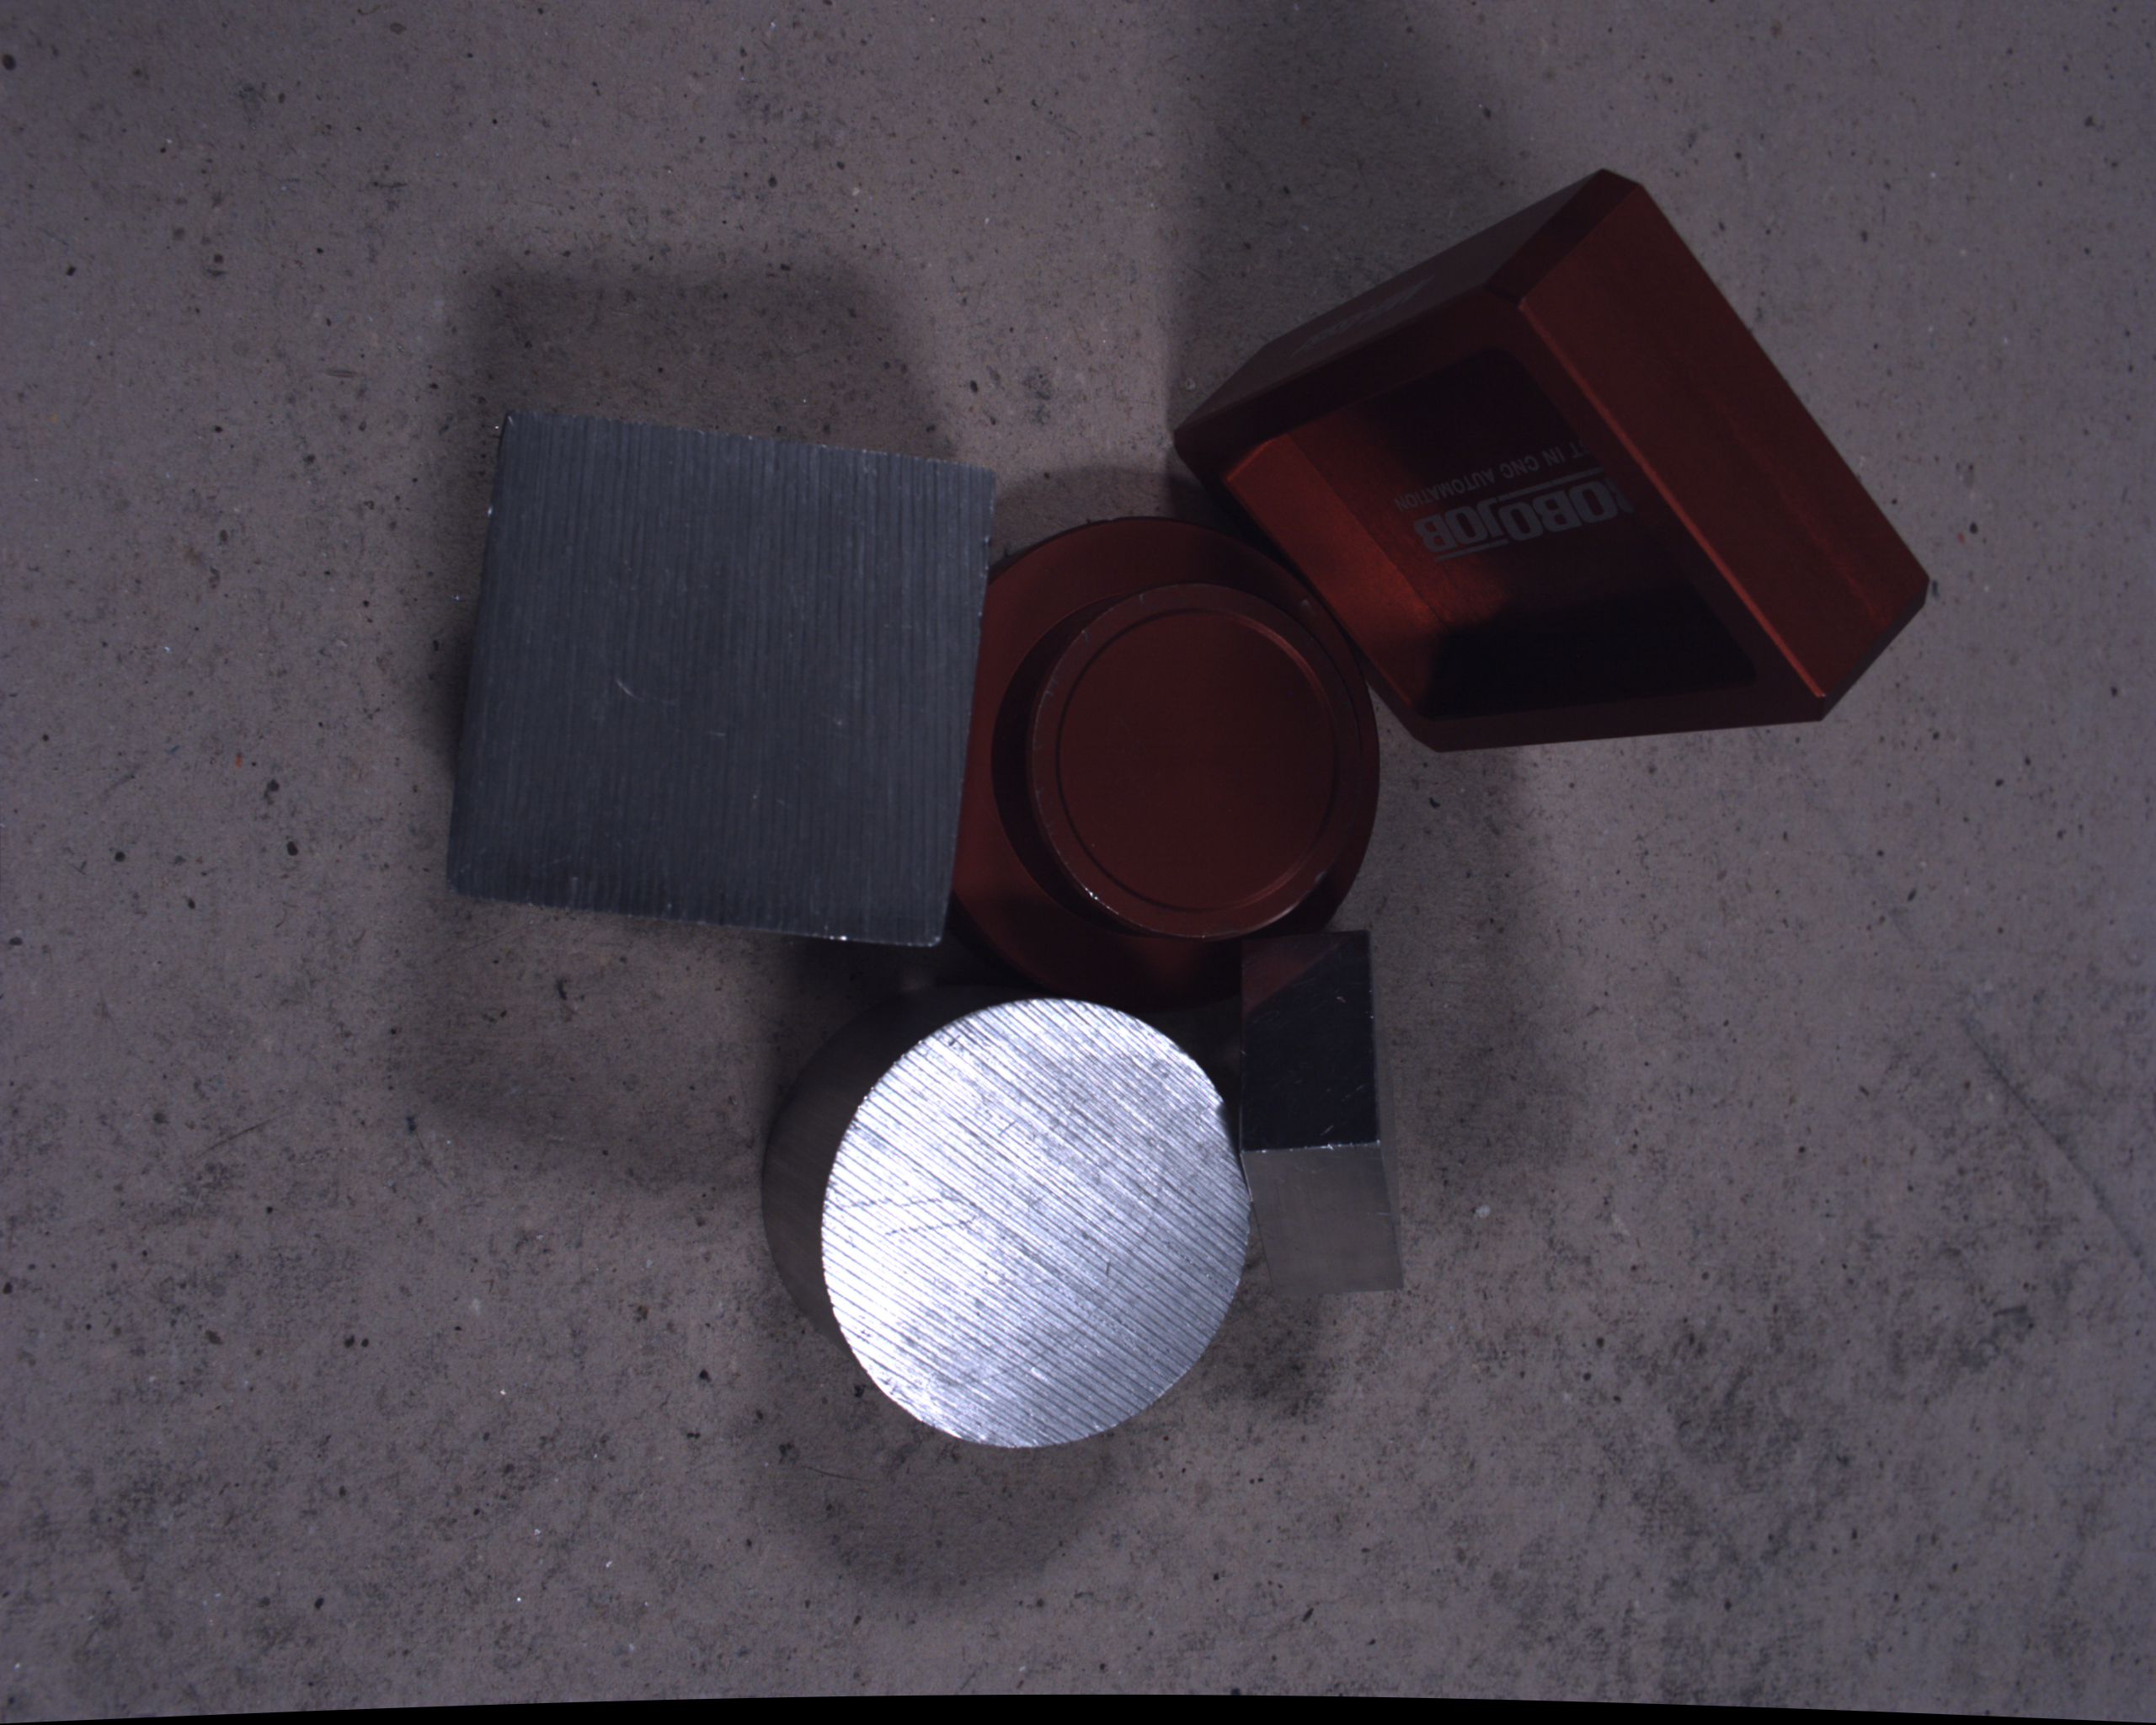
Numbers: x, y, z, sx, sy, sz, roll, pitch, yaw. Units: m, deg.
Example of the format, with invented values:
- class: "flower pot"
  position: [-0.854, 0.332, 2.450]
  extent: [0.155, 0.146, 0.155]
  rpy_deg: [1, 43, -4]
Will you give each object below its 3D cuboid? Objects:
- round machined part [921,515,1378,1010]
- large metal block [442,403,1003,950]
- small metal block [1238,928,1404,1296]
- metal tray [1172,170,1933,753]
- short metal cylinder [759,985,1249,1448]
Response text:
- class: "round machined part"
  position: [0.016, -0.020, 0.409]
  extent: [0.099, 0.042, 0.097]
  rpy_deg: [0, 90, -21]
- class: "large metal block"
  position: [-0.058, -0.029, 0.363]
  extent: [0.081, 0.050, 0.080]
  rpy_deg: [7, 88, -3]
- class: "small metal block"
  position: [0.047, 0.049, 0.404]
  extent: [0.025, 0.050, 0.050]
  rpy_deg: [-5, 137, 10]
- class: "metal tray"
  position: [0.079, -0.065, 0.384]
  extent: [0.030, 0.130, 0.090]
  rpy_deg: [-46, 105, -14]
- class: "short metal cylinder"
  position: [-0.015, 0.064, 0.393]
  extent: [0.081, 0.050, 0.079]
  rpy_deg: [0, 90, -21]
